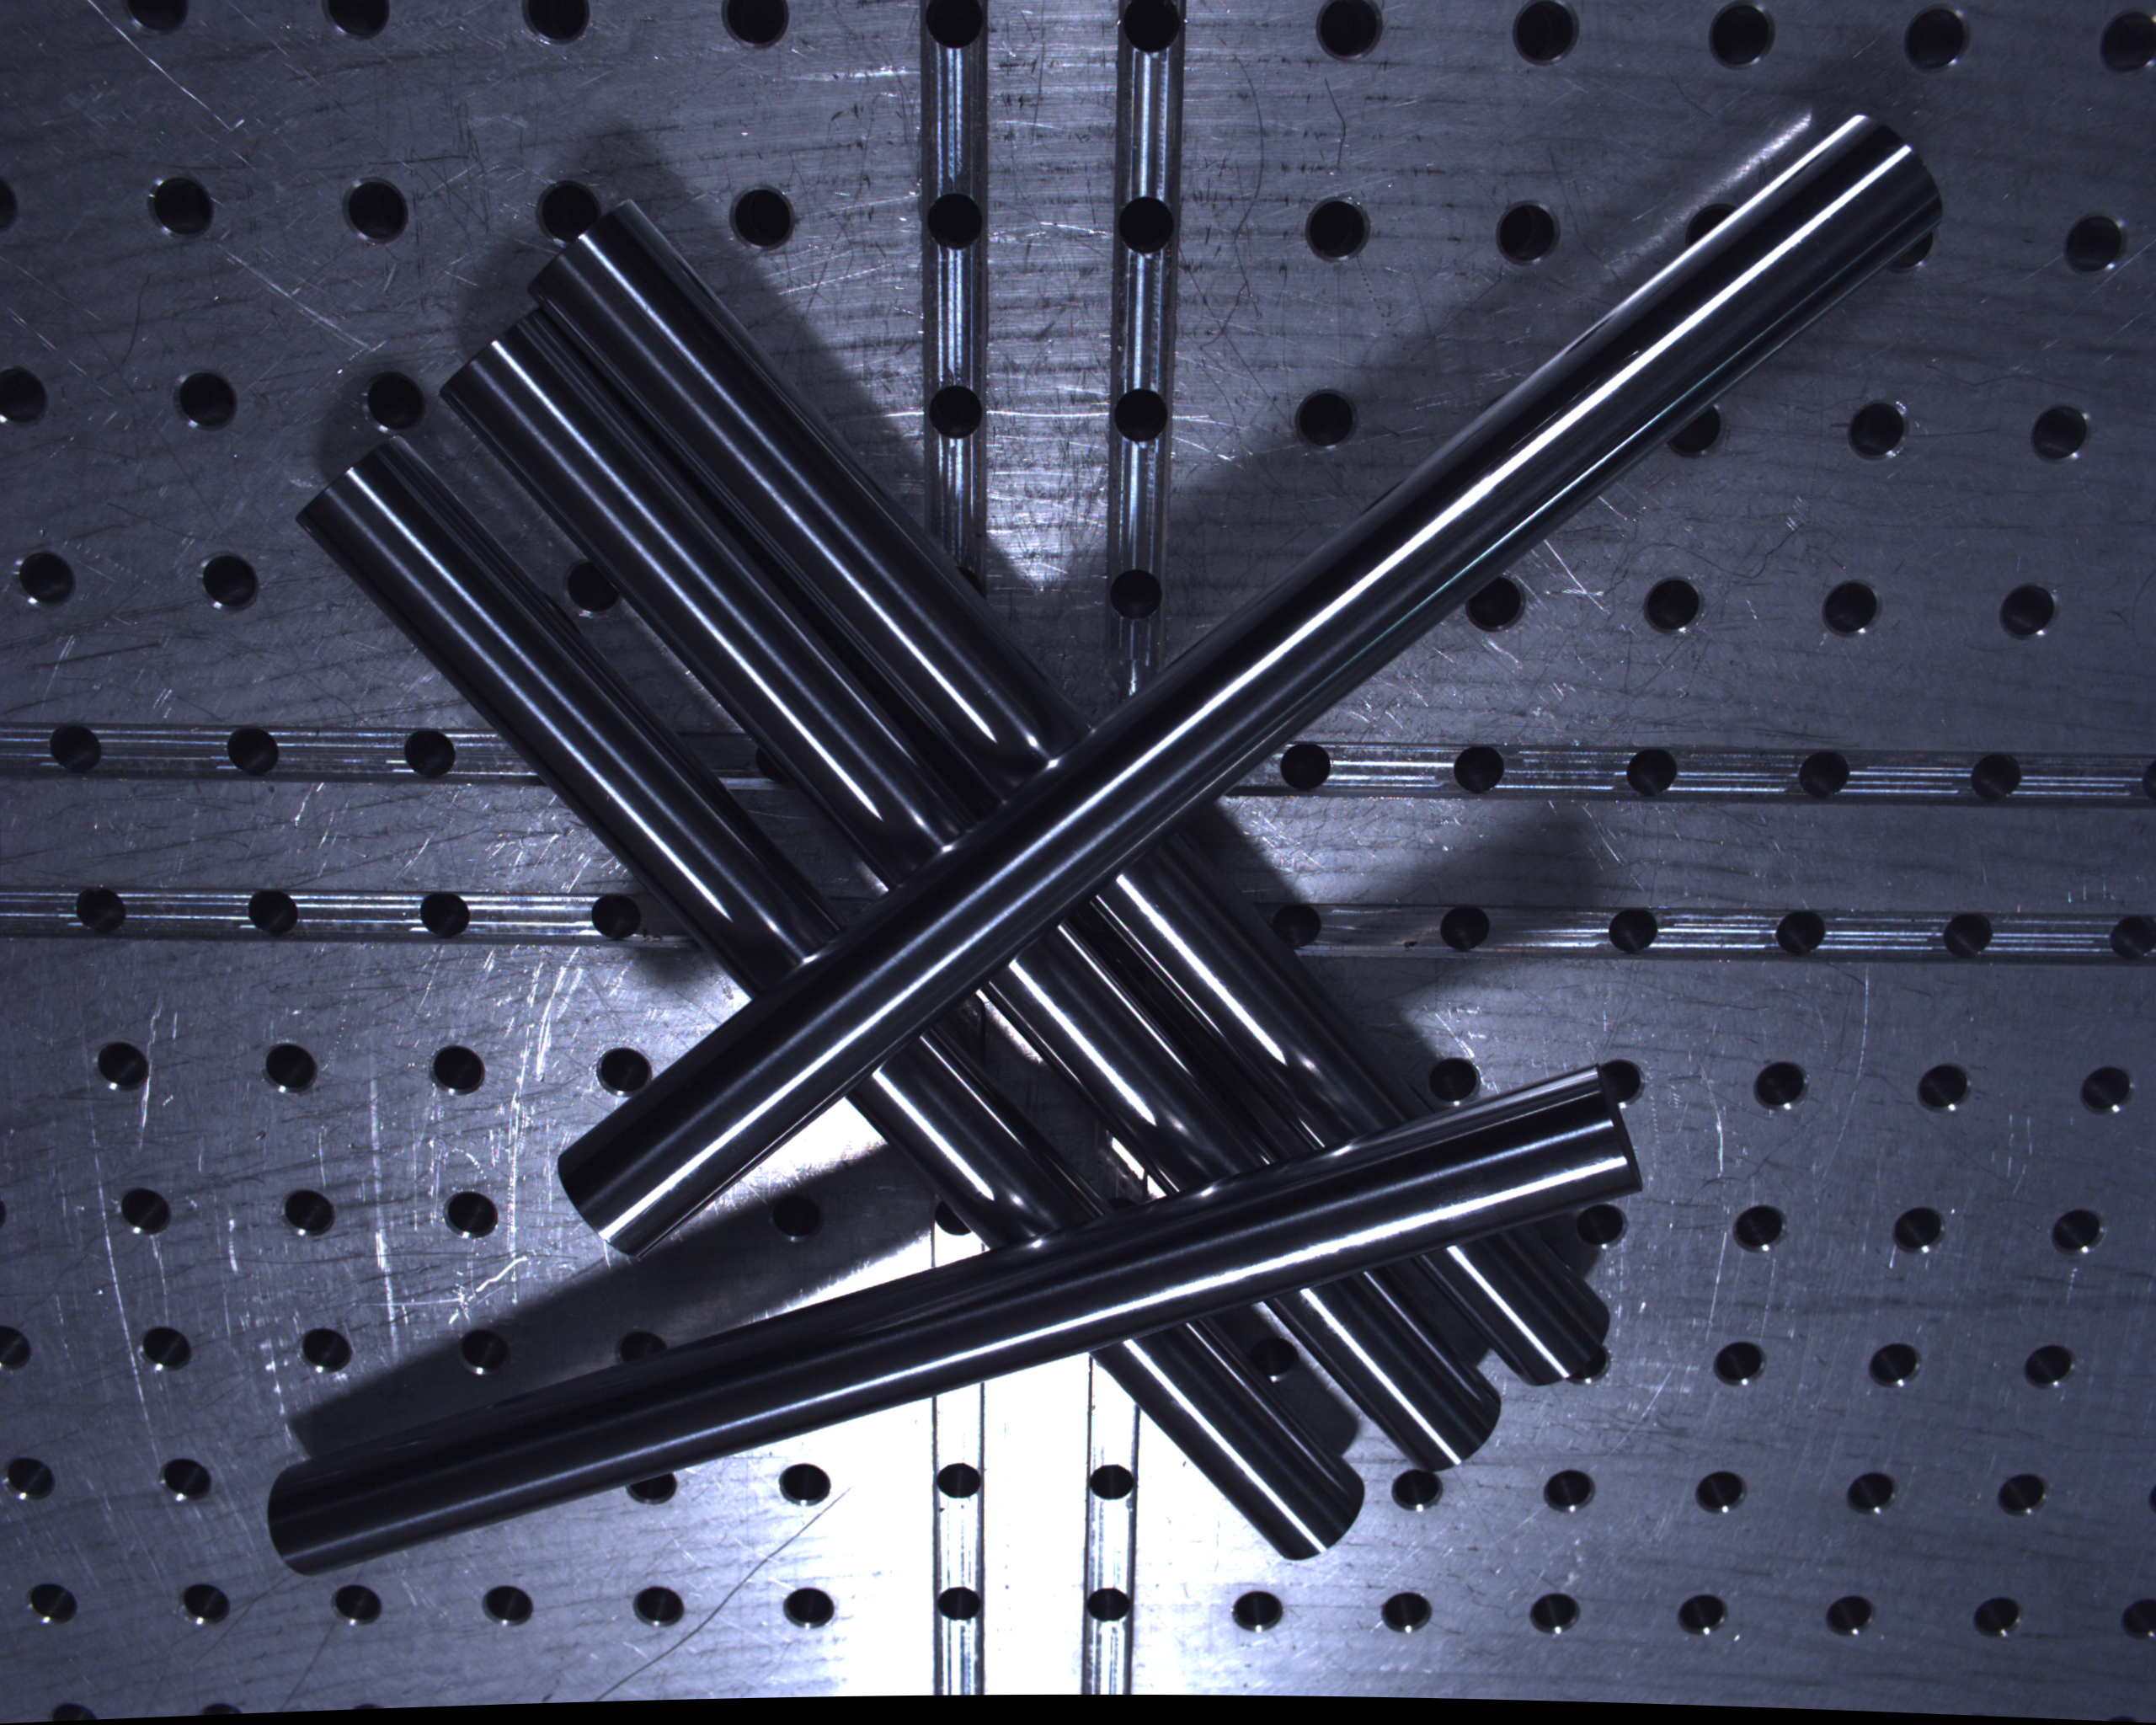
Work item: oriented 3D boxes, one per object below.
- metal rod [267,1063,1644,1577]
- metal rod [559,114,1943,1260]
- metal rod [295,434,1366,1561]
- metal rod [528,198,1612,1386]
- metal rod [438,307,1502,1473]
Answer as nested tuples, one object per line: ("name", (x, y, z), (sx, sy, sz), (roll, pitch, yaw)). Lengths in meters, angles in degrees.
("metal rod", (-0.036, 0.098, 0.427), (0.301, 0.025, 0.025), (-20, 109, 15))
("metal rod", (0.028, -0.029, 0.381), (0.300, 0.025, 0.025), (-39, 106, 4))
("metal rod", (-0.040, 0.038, 0.426), (0.025, 0.025, 0.300), (-37, 106, 12))
("metal rod", (0.008, -0.003, 0.412), (0.025, 0.025, 0.300), (-39, 106, 13))
("metal rod", (-0.012, 0.016, 0.419), (0.025, 0.025, 0.300), (-37, 106, 12))
